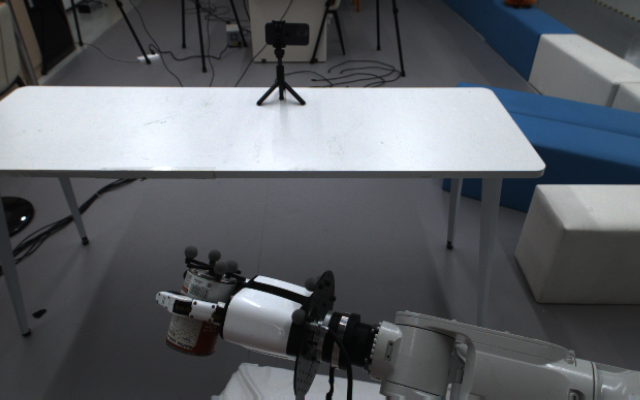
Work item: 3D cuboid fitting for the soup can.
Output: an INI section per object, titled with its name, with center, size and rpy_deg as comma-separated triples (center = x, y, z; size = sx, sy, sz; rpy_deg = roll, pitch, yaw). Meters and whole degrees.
[soup can]
center = -0.154, 0.146, 0.638
size = 0.067, 0.101, 0.067
rpy_deg = 18, -1, 0
